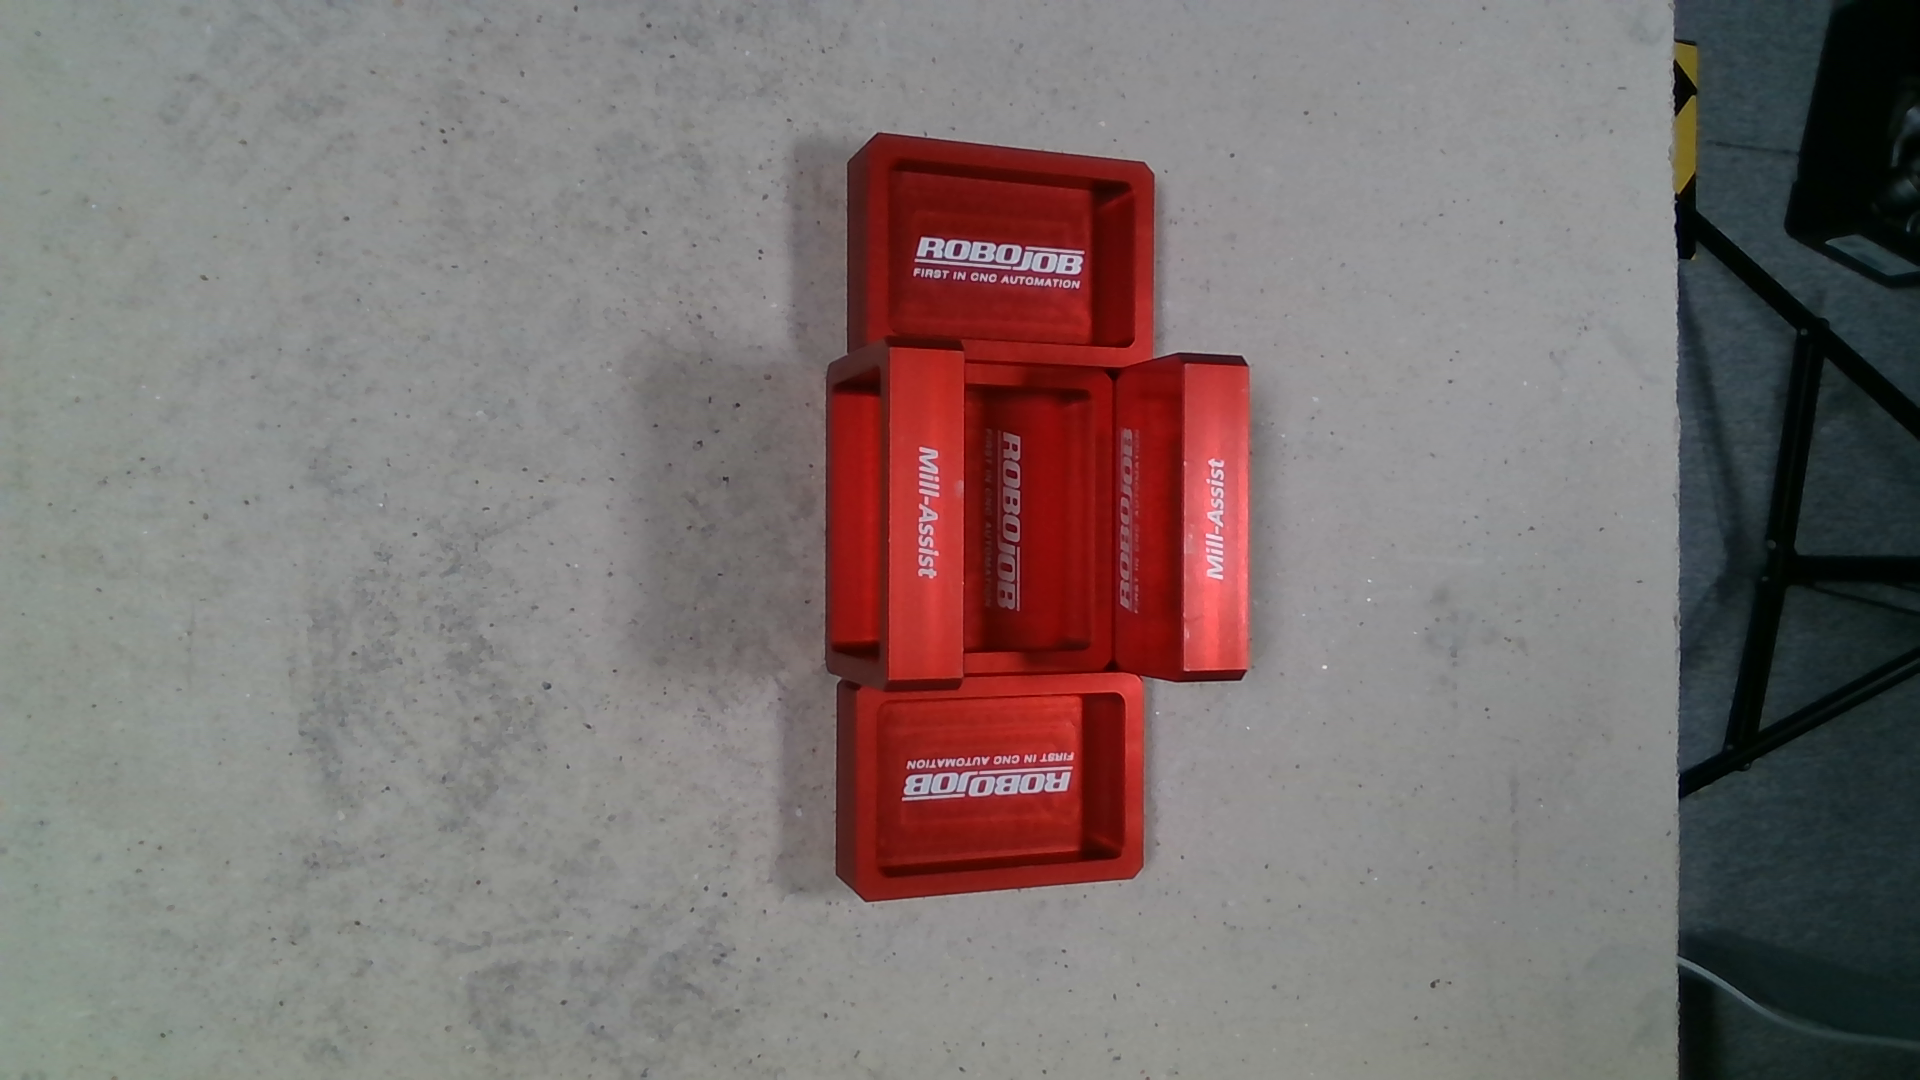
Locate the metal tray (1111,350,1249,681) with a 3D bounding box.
[{"bbox_3d":[0.086,-0.010,0.583,0.030,0.090,0.130,0,90,-20],"label":"metal tray"}]

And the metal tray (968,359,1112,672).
[{"bbox_3d":[0.018,-0.010,0.590,0.090,0.030,0.130,1,90,-20],"label":"metal tray"}]

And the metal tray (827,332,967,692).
[{"bbox_3d":[-0.027,-0.010,0.540,0.030,0.090,0.130,0,90,-20],"label":"metal tray"}]

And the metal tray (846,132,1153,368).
[{"bbox_3d":[0.018,-0.119,0.589,0.130,0.030,0.090,0,90,-20],"label":"metal tray"}]

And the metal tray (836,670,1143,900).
[{"bbox_3d":[0.014,0.101,0.589,0.130,0.030,0.090,0,90,-20],"label":"metal tray"}]
